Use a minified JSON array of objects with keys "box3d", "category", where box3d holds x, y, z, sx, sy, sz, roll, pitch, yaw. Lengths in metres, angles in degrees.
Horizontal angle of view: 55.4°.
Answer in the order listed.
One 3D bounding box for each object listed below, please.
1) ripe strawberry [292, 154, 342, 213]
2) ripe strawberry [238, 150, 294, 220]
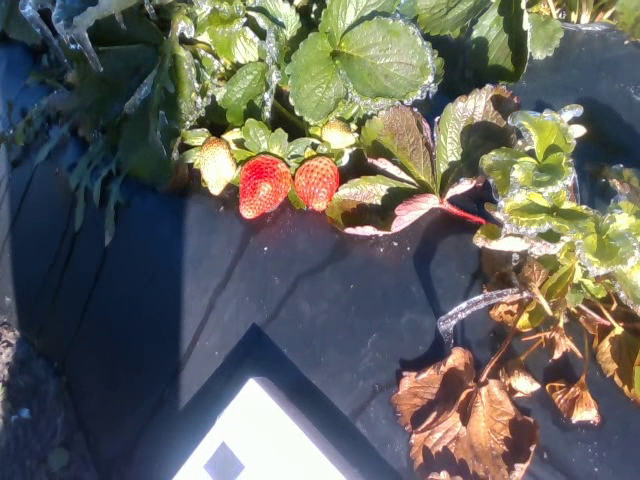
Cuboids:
[{"box3d":[0.000,-0.036,0.397,0.036,0.041,0.030,-28,-24,19],"category":"ripe strawberry"},{"box3d":[-0.040,-0.030,0.395,0.036,0.052,0.040,-2,-46,24],"category":"ripe strawberry"}]
